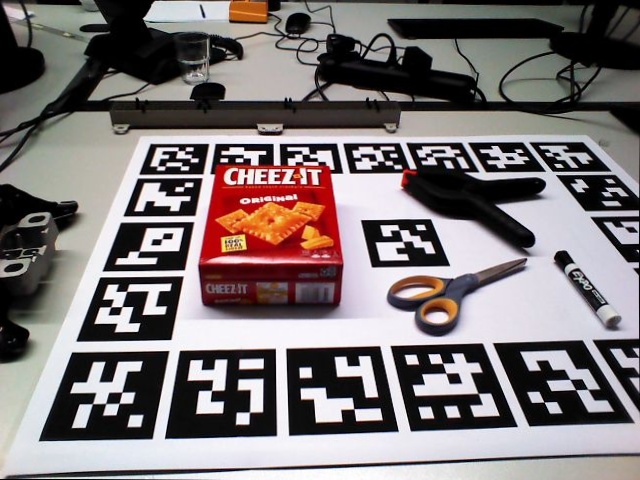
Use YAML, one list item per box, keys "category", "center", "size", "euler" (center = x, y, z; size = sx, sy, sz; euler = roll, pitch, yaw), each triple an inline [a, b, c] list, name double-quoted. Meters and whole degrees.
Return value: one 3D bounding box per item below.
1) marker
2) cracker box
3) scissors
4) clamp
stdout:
- category: "marker"
  center: [0.321, 0.052, 0.622]
  size: [0.019, 0.020, 0.120]
  euler: [-3, 38, -6]
- category: "cracker box"
  center: [-0.058, -0.018, 0.657]
  size: [0.164, 0.072, 0.212]
  euler: [0, 38, -2]
- category: "scissors"
  center: [0.178, 0.051, 0.620]
  size: [0.202, 0.016, 0.088]
  euler: [-18, 41, -26]
- category: "clamp"
  center: [0.219, -0.062, 0.771]
  size: [0.203, 0.037, 0.164]
  euler: [20, 40, 20]
